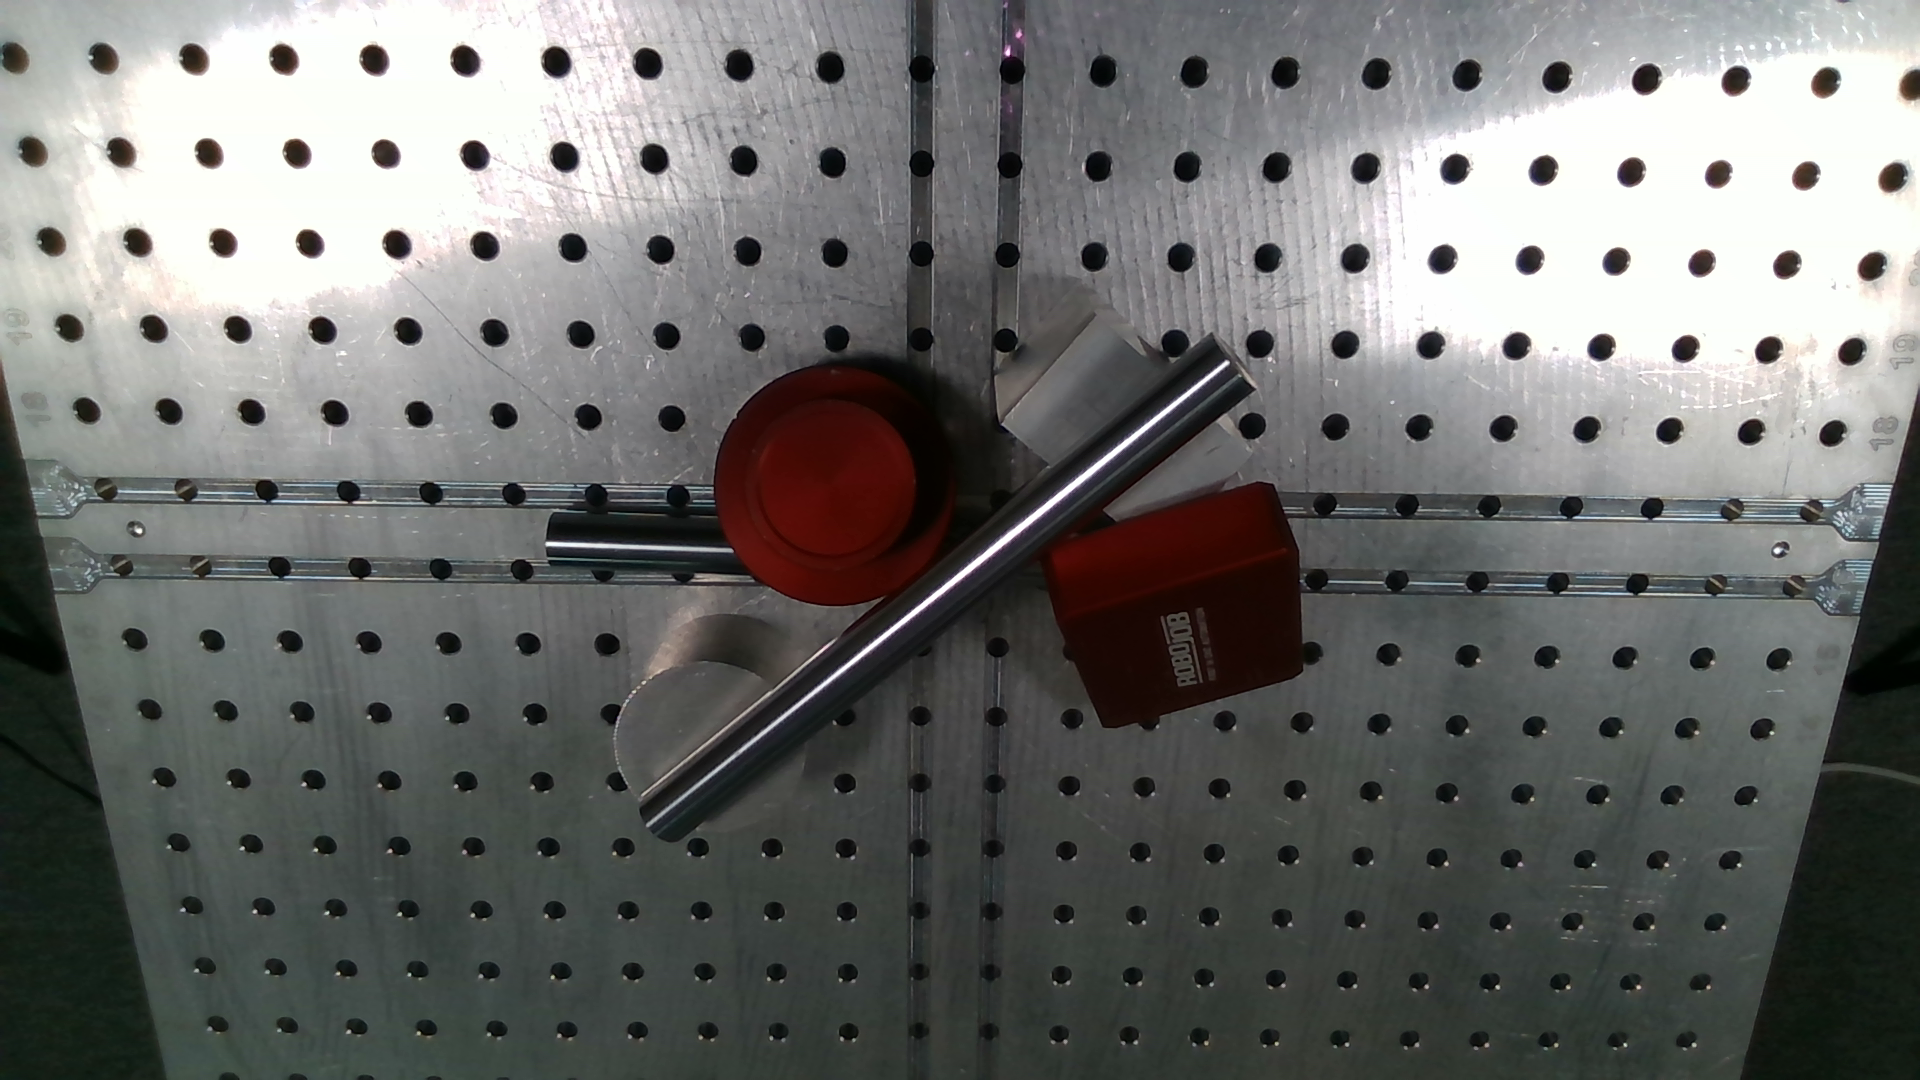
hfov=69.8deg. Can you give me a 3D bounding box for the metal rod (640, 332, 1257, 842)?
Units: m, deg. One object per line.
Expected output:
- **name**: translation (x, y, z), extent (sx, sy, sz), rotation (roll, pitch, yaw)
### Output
- **metal rod**: translation (-0.016, 0.027, 0.522), extent (0.300, 0.025, 0.025), rotation (-39, 106, 21)

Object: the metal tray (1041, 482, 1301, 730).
- **metal tray**: translation (0.089, 0.031, 0.554), extent (0.090, 0.030, 0.130), rotation (-17, 151, 6)

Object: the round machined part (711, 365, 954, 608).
- **round machined part**: translation (-0.051, -0.021, 0.554), extent (0.098, 0.042, 0.098), rotation (0, 93, 0)

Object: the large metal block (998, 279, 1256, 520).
- **large metal block**: translation (0.062, -0.052, 0.540), extent (0.080, 0.080, 0.050), rotation (39, 105, -13)

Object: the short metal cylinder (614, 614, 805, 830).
- **short metal cylinder**: translation (-0.106, 0.079, 0.604), extent (0.080, 0.050, 0.080), rotation (0, 110, 0)

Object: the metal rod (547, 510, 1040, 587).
- **metal rod**: translation (-0.022, 0.006, 0.589), extent (0.300, 0.025, 0.025), rotation (2, 110, -1)
